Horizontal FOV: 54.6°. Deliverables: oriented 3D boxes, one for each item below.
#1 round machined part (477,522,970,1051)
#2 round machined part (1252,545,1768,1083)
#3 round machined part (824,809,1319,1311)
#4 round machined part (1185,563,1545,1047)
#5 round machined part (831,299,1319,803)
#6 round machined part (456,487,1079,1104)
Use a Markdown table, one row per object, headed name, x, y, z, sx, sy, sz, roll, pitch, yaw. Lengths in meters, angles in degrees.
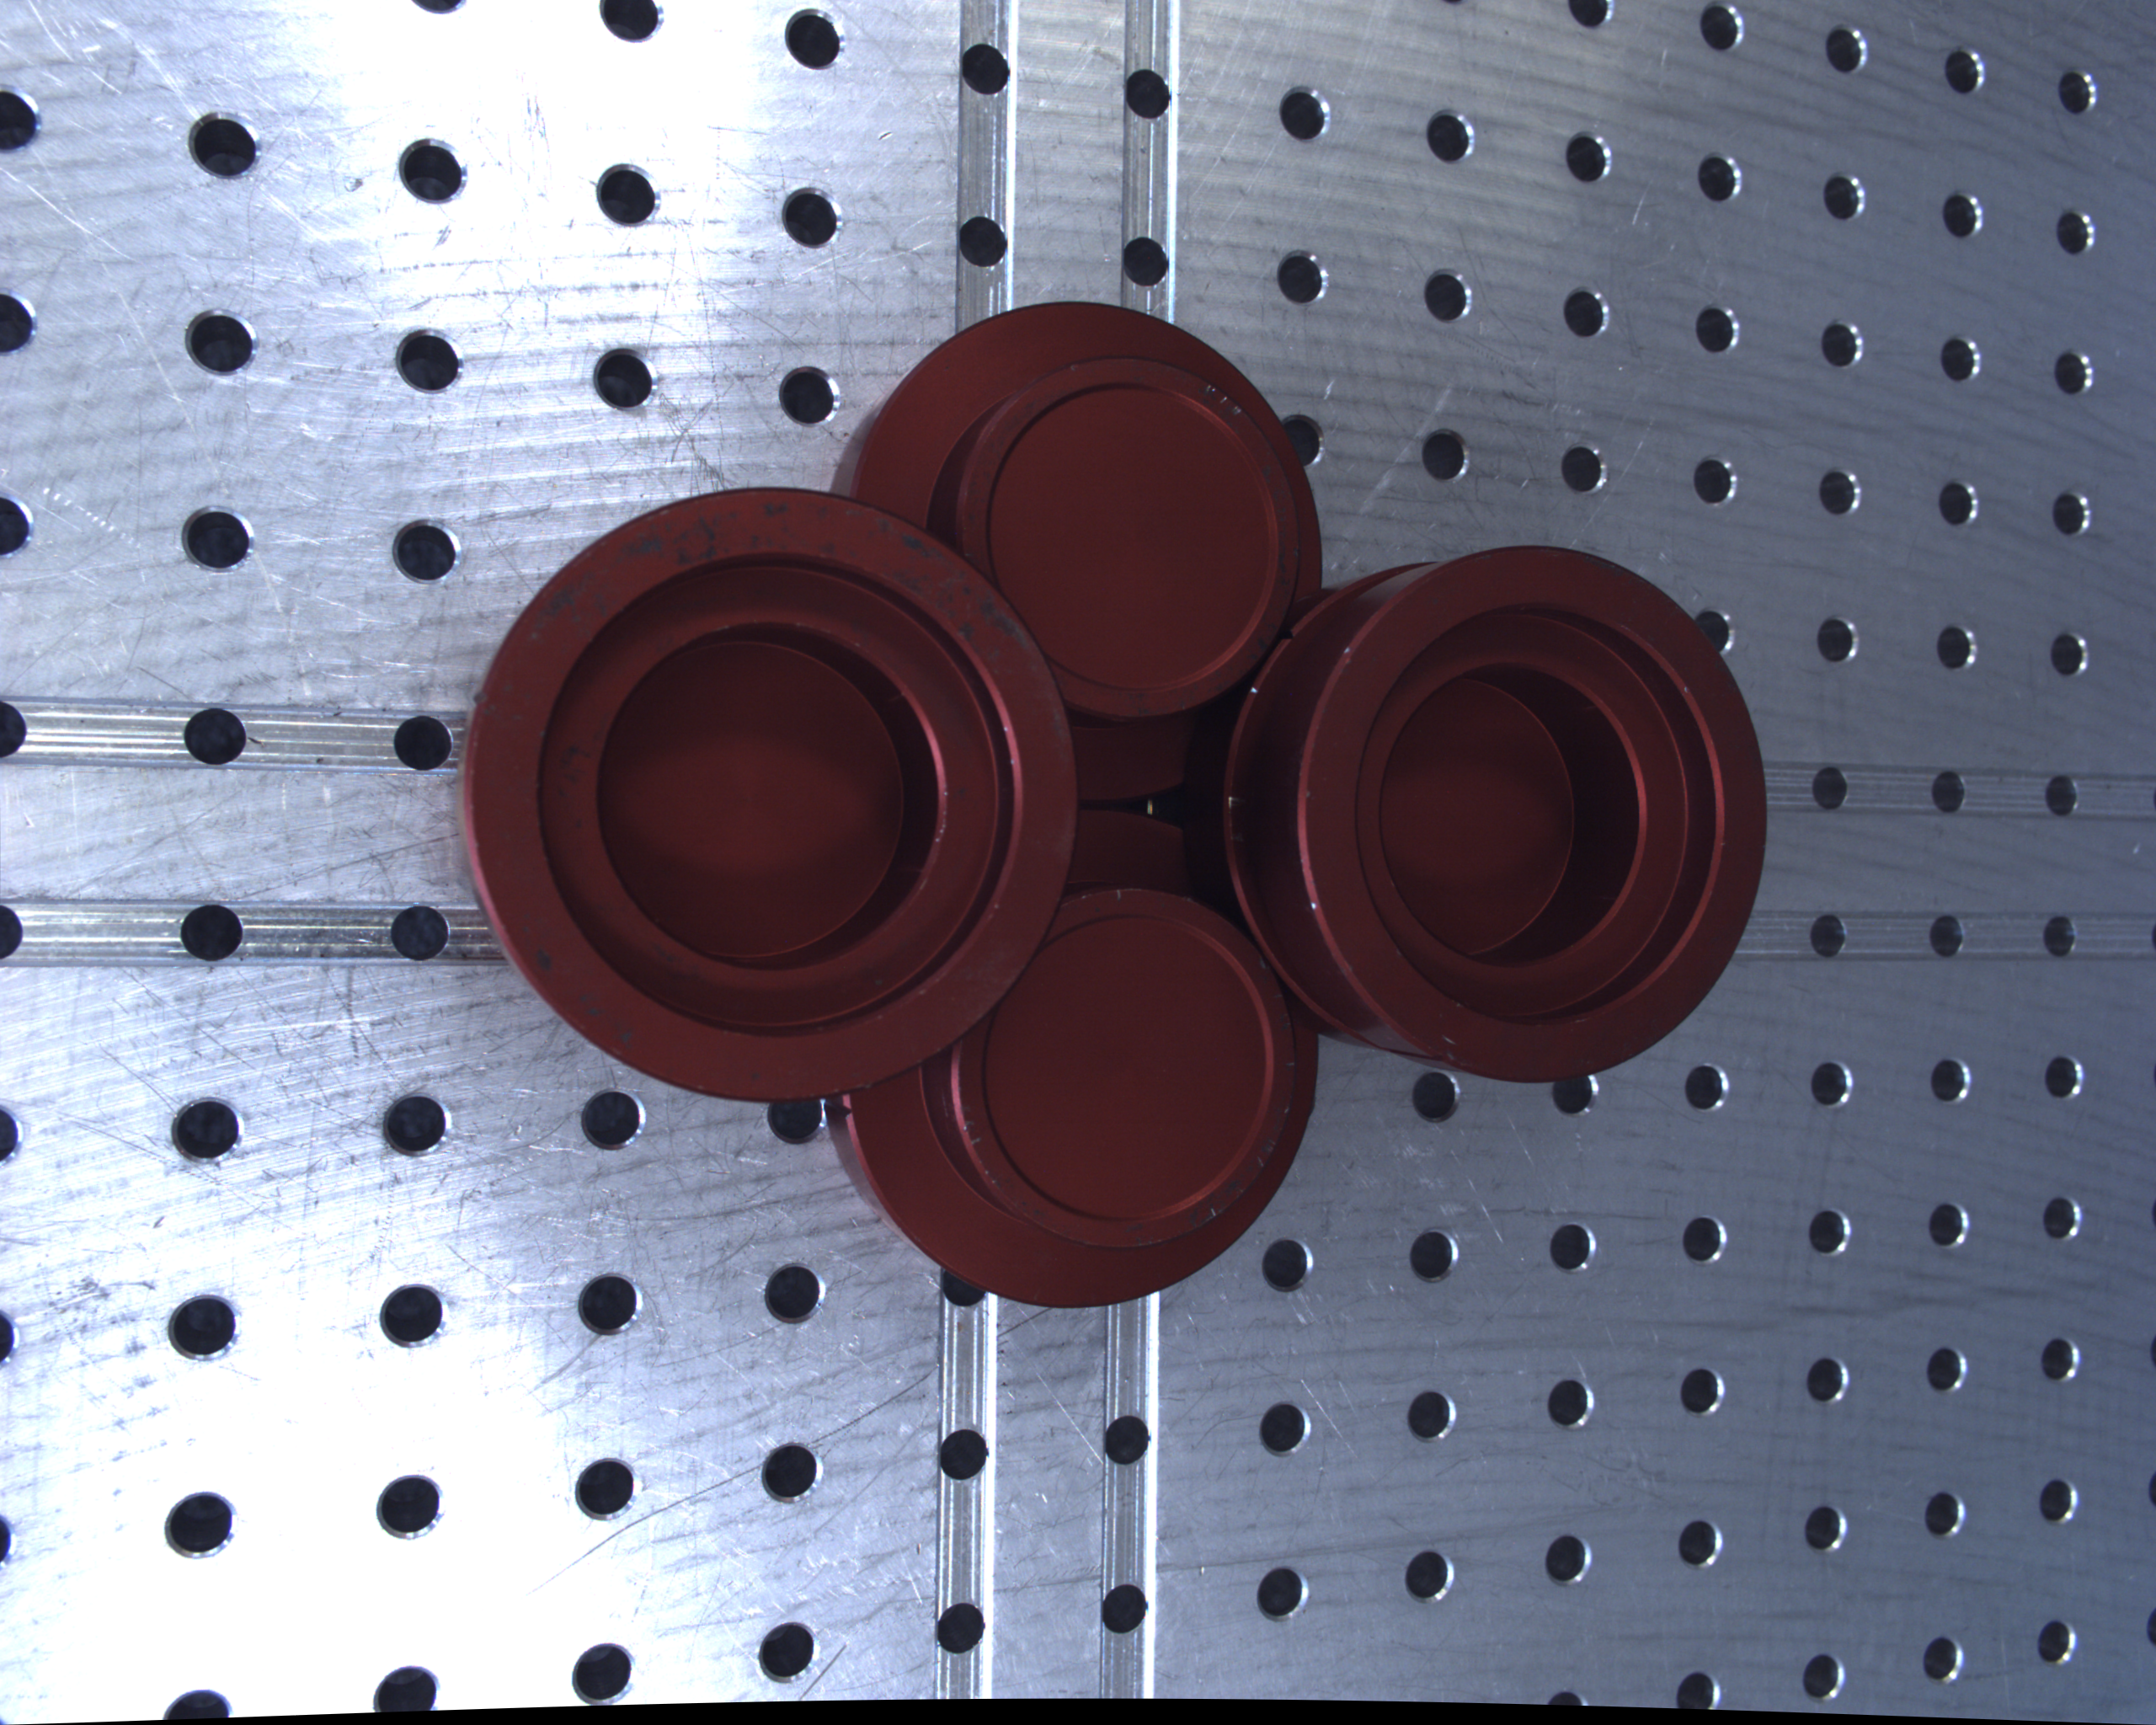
| name | x | y | z | sx | sy | sz | roll | pitch | yaw |
| --- | --- | --- | --- | --- | --- | --- | --- | --- | --- |
| round machined part | -0.061 | -0.011 | 0.380 | 0.099 | 0.042 | 0.097 | 0 | 90 | -20 |
| round machined part | 0.078 | -0.009 | 0.397 | 0.099 | 0.042 | 0.097 | 0 | 90 | -20 |
| round machined part | 0.003 | 0.038 | 0.404 | 0.099 | 0.042 | 0.097 | 0 | 90 | -20 |
| round machined part | 0.067 | -0.010 | 0.427 | 0.099 | 0.042 | 0.097 | 0 | 90 | -20 |
| round machined part | 0.003 | -0.060 | 0.404 | 0.099 | 0.042 | 0.097 | 0 | 90 | -20 |
| round machined part | -0.053 | -0.011 | 0.349 | 0.099 | 0.042 | 0.097 | 0 | 90 | -20 |
